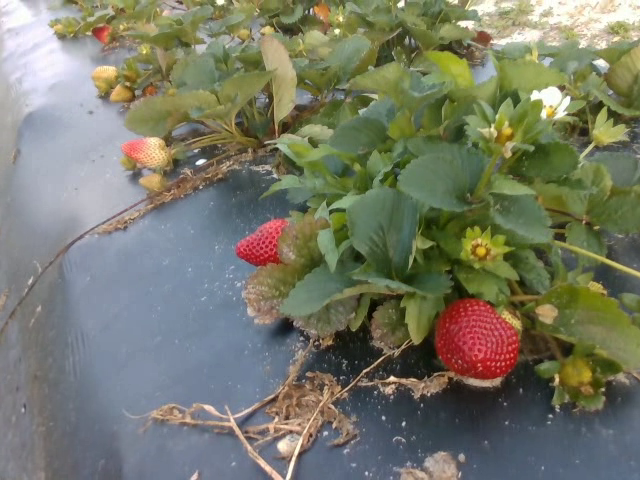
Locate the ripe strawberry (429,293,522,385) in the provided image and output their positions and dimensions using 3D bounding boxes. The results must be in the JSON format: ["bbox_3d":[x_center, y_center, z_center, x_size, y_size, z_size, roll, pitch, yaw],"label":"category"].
[{"bbox_3d":[0.076,0.050,0.300,0.043,0.047,0.046,-26,8,15],"label":"ripe strawberry"}]

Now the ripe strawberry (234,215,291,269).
[{"bbox_3d":[-0.035,0.006,0.412,0.050,0.043,0.043,-14,35,-12],"label":"ripe strawberry"}]
